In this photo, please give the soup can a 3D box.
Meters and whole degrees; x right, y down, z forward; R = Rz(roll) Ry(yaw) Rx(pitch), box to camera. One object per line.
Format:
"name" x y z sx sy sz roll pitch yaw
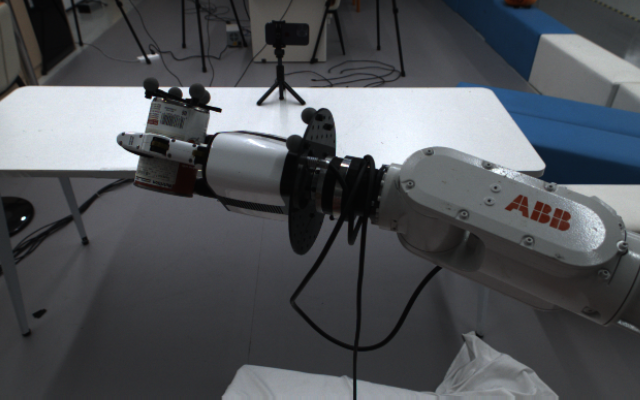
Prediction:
"soup can" -0.169 -0.058 0.559 0.067 0.101 0.067 13 0 0
